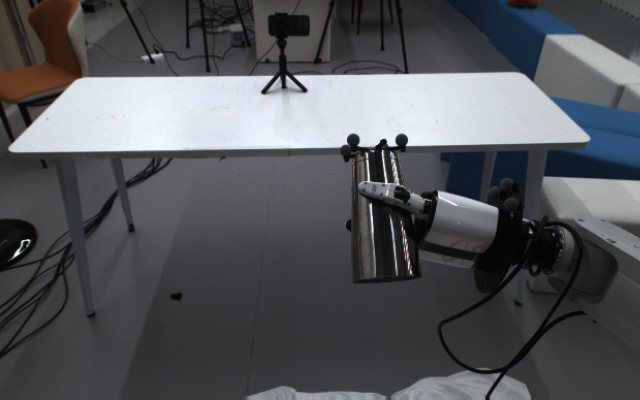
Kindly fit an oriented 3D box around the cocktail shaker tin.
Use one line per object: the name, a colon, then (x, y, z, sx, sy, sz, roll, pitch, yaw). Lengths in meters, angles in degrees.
cocktail shaker tin: (0.084, 0.023, 0.657, 0.093, 0.093, 0.170, -3, 76, -8)
